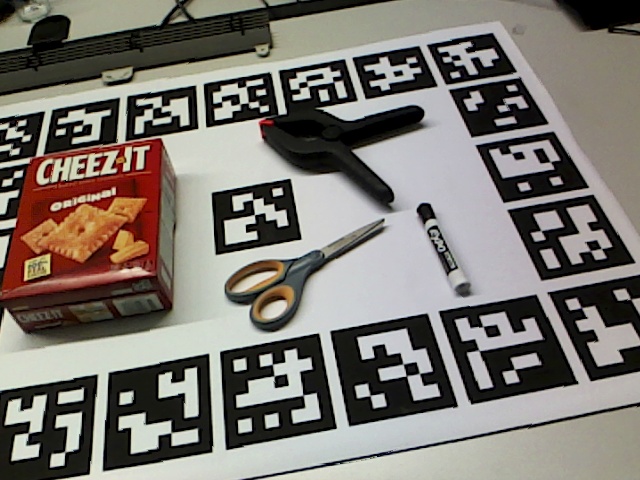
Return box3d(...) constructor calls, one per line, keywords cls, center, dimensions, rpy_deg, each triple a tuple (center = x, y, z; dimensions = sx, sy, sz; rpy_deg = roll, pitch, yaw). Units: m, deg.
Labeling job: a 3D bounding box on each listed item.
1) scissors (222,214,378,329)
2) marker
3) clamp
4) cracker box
box3d(cls="scissors", center=(-0.014, 0.021, 0.688), dimensions=(0.202, 0.016, 0.088), rpy_deg=(-33, 52, -22))
box3d(cls="marker", center=(0.126, -0.003, 0.688), dimensions=(0.019, 0.019, 0.121), rpy_deg=(-14, 49, -4))
box3d(cls="clamp", center=(0.004, -0.126, 0.815), dimensions=(0.203, 0.036, 0.165), rpy_deg=(13, 52, 17))
box3d(cls="cracker box", center=(-0.258, -0.012, 0.717), dimensions=(0.164, 0.072, 0.214), rpy_deg=(-10, 50, -1))
